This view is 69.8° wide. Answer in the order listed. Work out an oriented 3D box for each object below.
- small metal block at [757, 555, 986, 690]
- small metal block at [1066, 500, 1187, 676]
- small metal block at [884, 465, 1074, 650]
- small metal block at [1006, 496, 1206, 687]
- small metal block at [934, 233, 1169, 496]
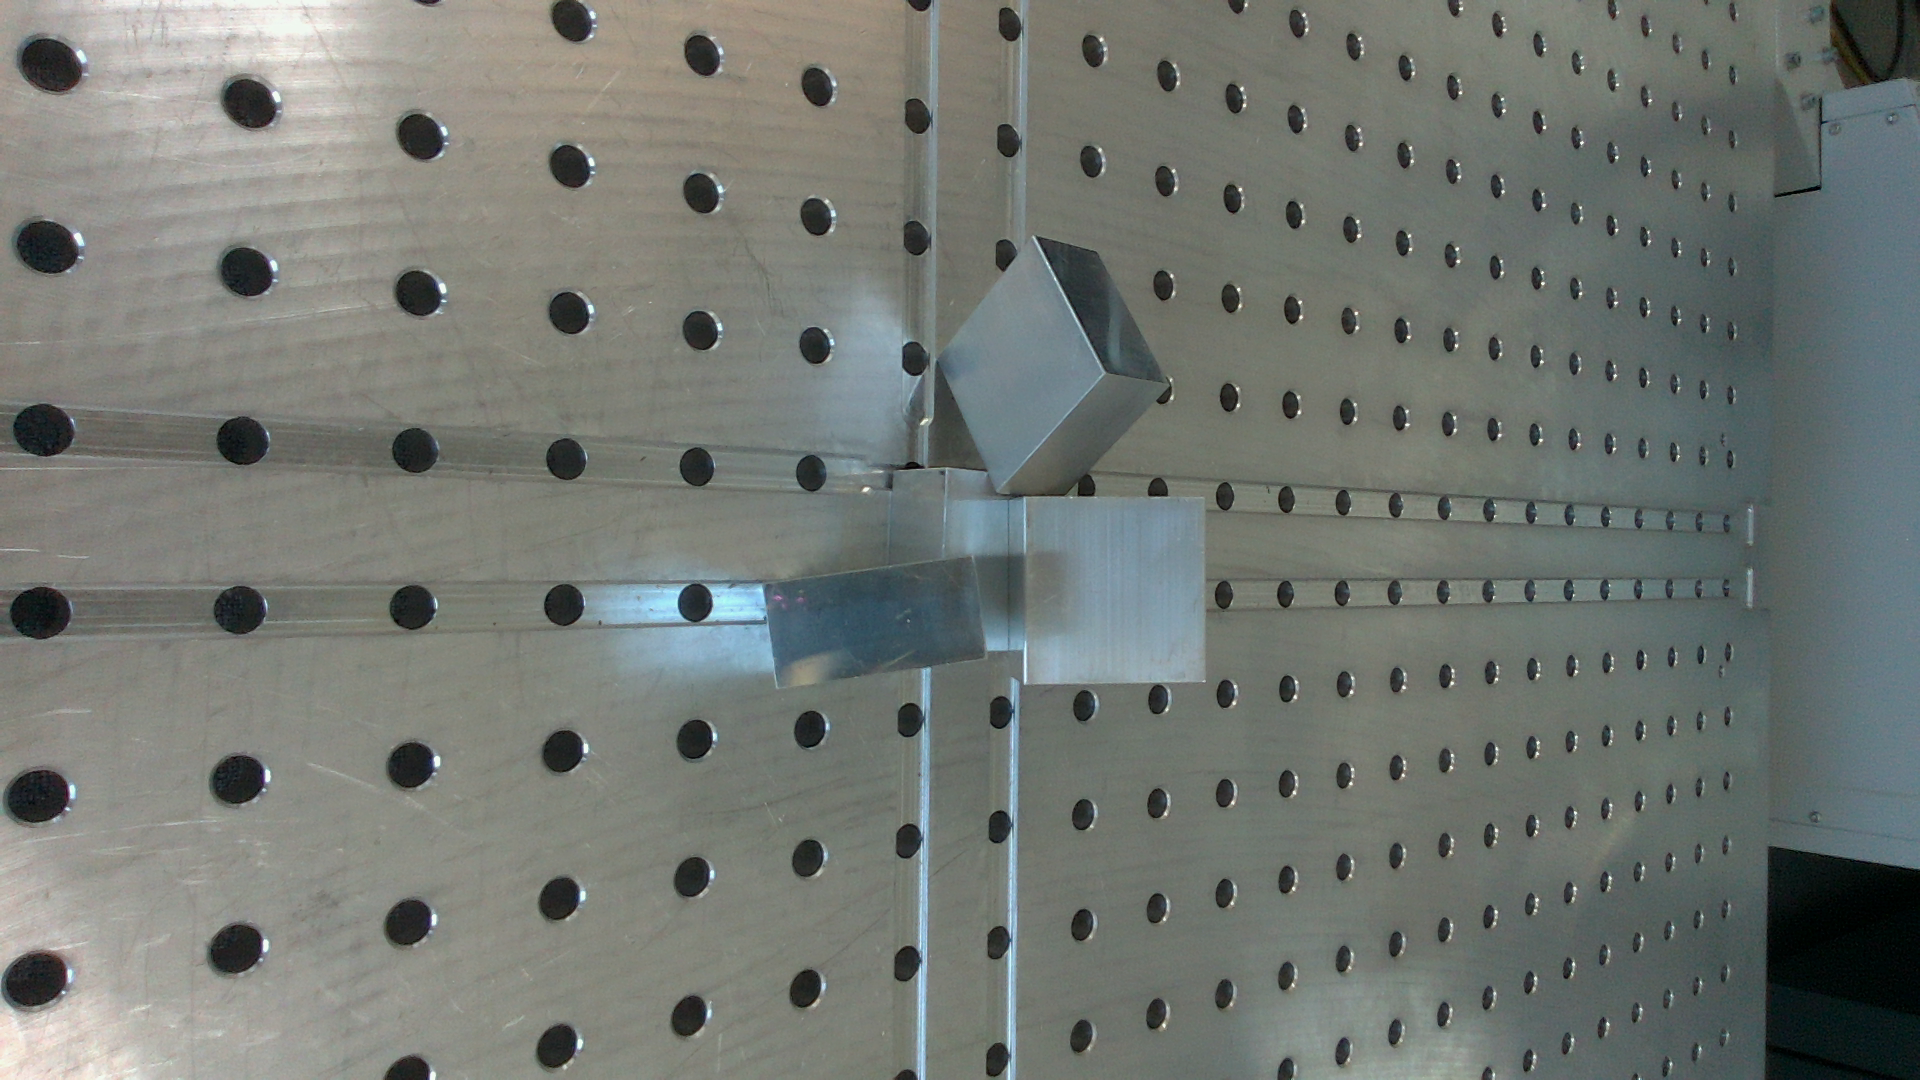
[{"bbox_3d":[-0.022,0.020,0.344,0.050,0.050,0.025,-7,89,-5],"label":"small metal block"},{"bbox_3d":[0.052,0.014,0.420,0.050,0.025,0.050,7,84,-71],"label":"small metal block"},{"bbox_3d":[0.005,0.006,0.396,0.050,0.025,0.050,3,88,-40],"label":"small metal block"},{"bbox_3d":[0.039,0.013,0.377,0.050,0.025,0.050,0,90,-7],"label":"small metal block"},{"bbox_3d":[0.024,-0.047,0.382,0.025,0.050,0.050,4,52,-39],"label":"small metal block"}]
